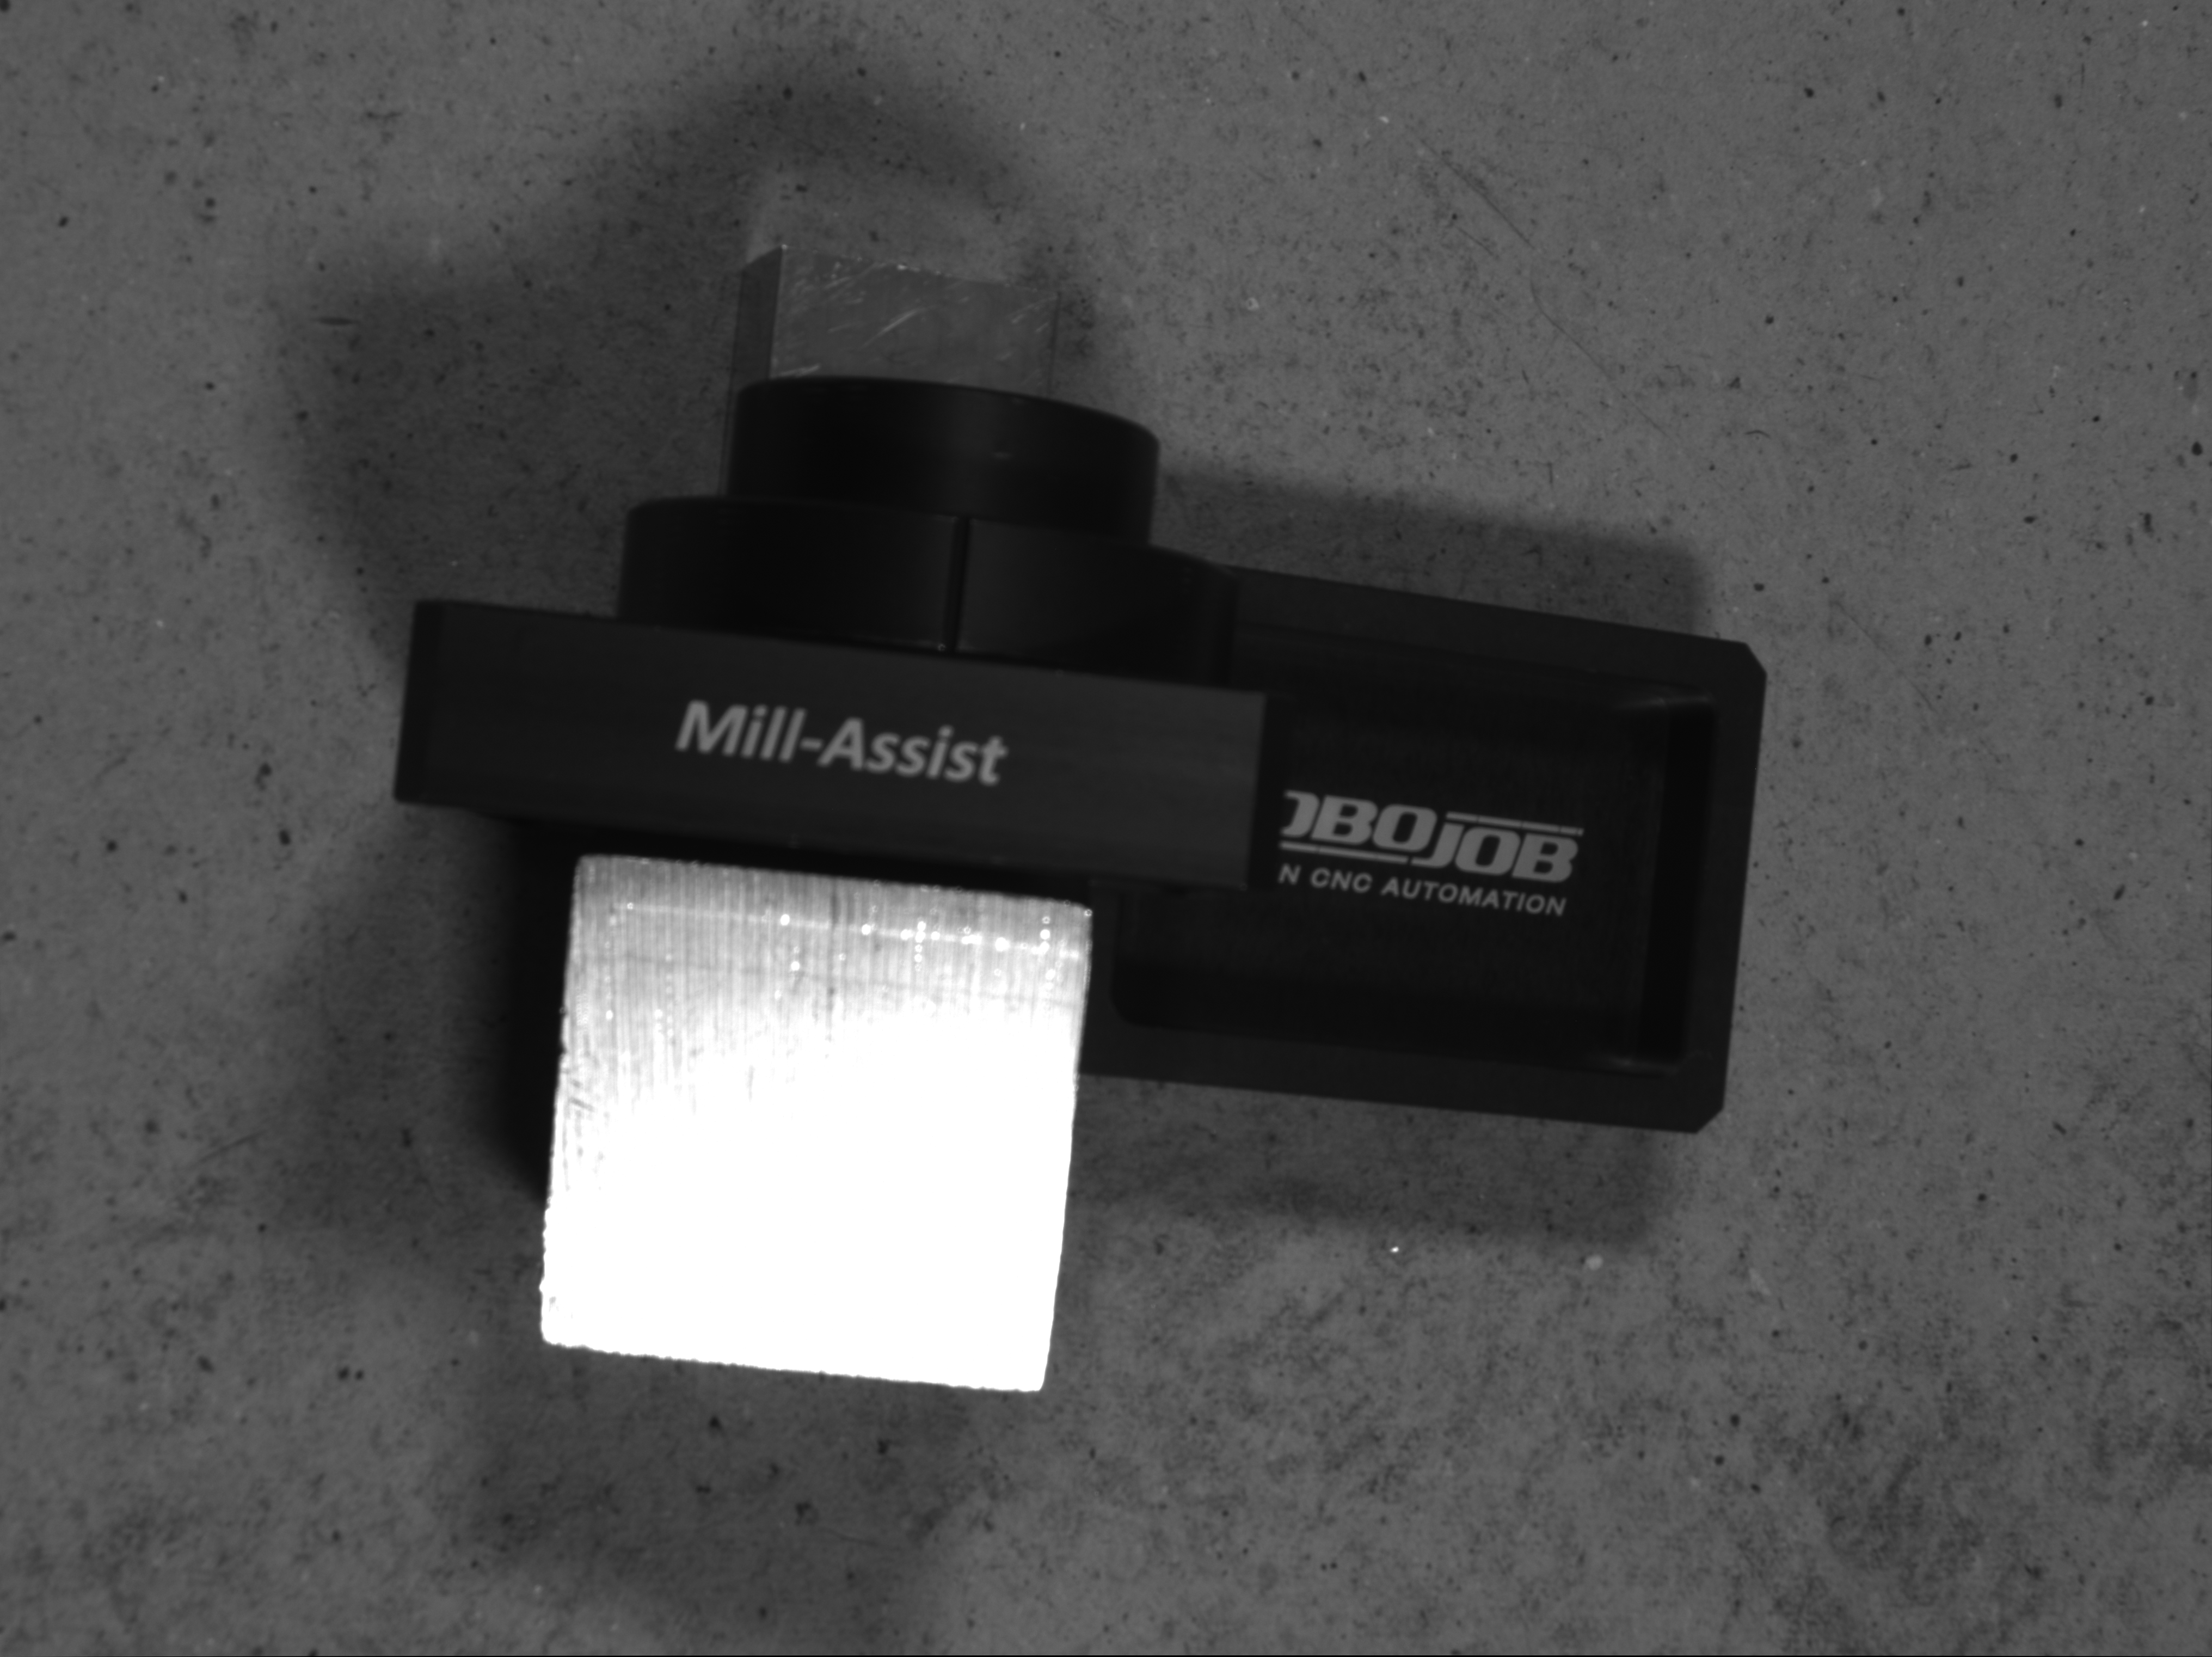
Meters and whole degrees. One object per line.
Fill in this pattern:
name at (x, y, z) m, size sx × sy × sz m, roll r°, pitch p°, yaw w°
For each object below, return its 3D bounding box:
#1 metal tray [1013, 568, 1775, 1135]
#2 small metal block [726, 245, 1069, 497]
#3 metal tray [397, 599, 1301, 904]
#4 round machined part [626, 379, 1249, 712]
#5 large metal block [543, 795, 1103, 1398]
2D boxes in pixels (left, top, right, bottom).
metal tray at (0.053, 0.004, 0.660) m, size 0.130 × 0.030 × 0.090 m, roll 7°, pitch 88°, yaw -20°
small metal block at (-0.037, -0.070, 0.631) m, size 0.050 × 0.025 × 0.050 m, roll 7°, pitch 88°, yaw -20°
metal tray at (-0.038, -0.010, 0.577) m, size 0.130 × 0.090 × 0.030 m, roll 6°, pitch 88°, yaw -1°
round machined part at (-0.026, -0.045, 0.584) m, size 0.098 × 0.098 × 0.042 m, roll 7°, pitch 88°, yaw -20°
large metal block at (-0.045, 0.042, 0.594) m, size 0.080 × 0.050 × 0.080 m, roll 6°, pitch 101°, yaw -2°
